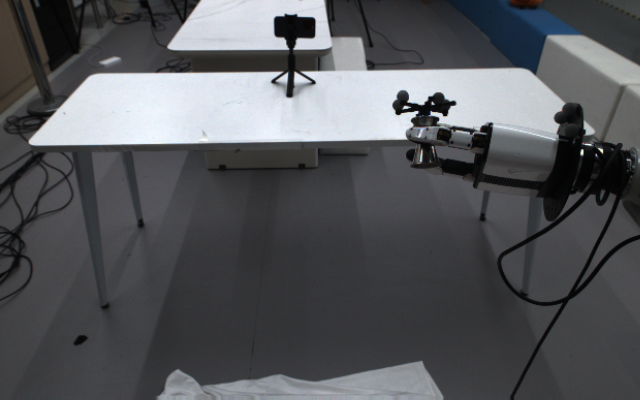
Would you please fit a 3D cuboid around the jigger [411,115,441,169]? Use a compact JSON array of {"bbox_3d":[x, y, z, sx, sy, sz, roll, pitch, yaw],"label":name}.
[{"bbox_3d":[0.149,-0.084,0.690,0.043,0.071,0.043,1,-5,0],"label":"jigger"}]
